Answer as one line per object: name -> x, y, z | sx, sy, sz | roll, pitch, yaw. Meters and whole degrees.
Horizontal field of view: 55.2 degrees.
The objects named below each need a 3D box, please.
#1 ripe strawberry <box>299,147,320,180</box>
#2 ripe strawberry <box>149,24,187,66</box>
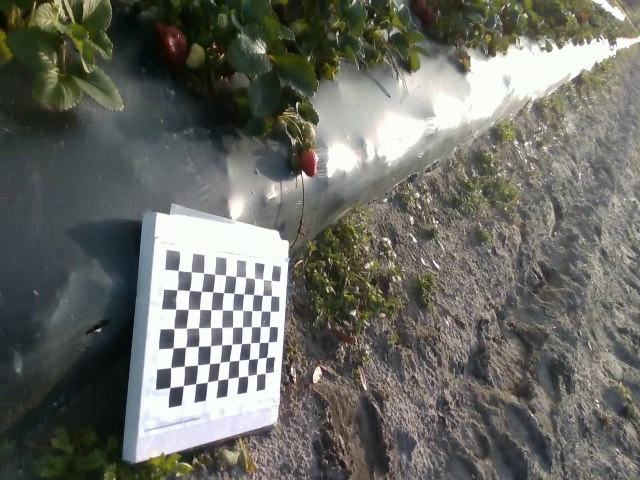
ripe strawberry -> -0.010, -0.132, 1.019 | 0.034, 0.050, 0.047 | -6, 11, 30
ripe strawberry -> -0.213, -0.275, 0.853 | 0.057, 0.058, 0.071 | 7, -15, 5
